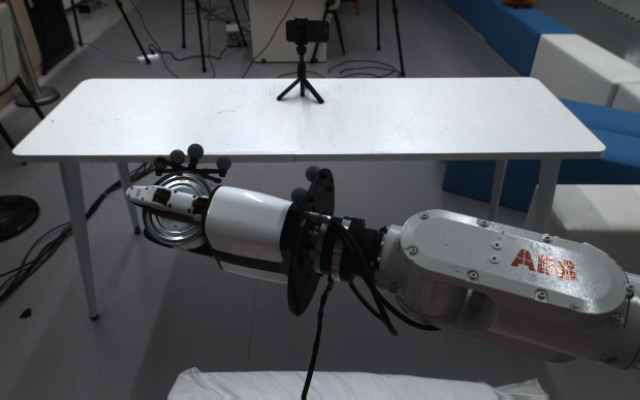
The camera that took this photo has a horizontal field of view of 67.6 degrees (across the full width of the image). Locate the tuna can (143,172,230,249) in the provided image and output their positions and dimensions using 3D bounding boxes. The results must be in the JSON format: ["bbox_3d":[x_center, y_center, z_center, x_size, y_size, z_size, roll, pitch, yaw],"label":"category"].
[{"bbox_3d":[-0.153,0.013,0.552,0.085,0.034,0.085,-3,73,10],"label":"tuna can"}]
